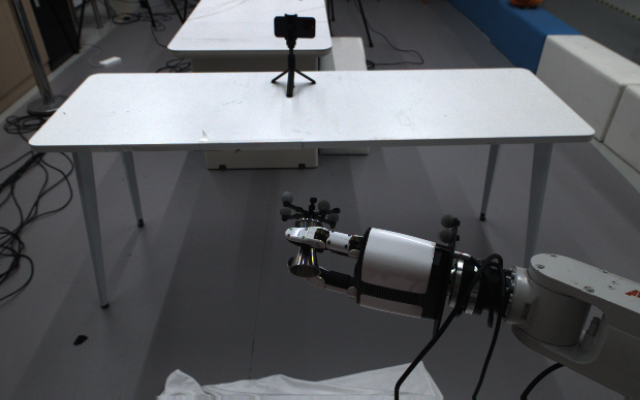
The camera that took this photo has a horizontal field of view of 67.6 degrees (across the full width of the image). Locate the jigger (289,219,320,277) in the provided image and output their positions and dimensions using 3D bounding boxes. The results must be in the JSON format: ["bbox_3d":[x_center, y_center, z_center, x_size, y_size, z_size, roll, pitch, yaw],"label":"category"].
[{"bbox_3d":[-0.019,0.061,0.647,0.043,0.043,0.071,4,60,3],"label":"jigger"}]
